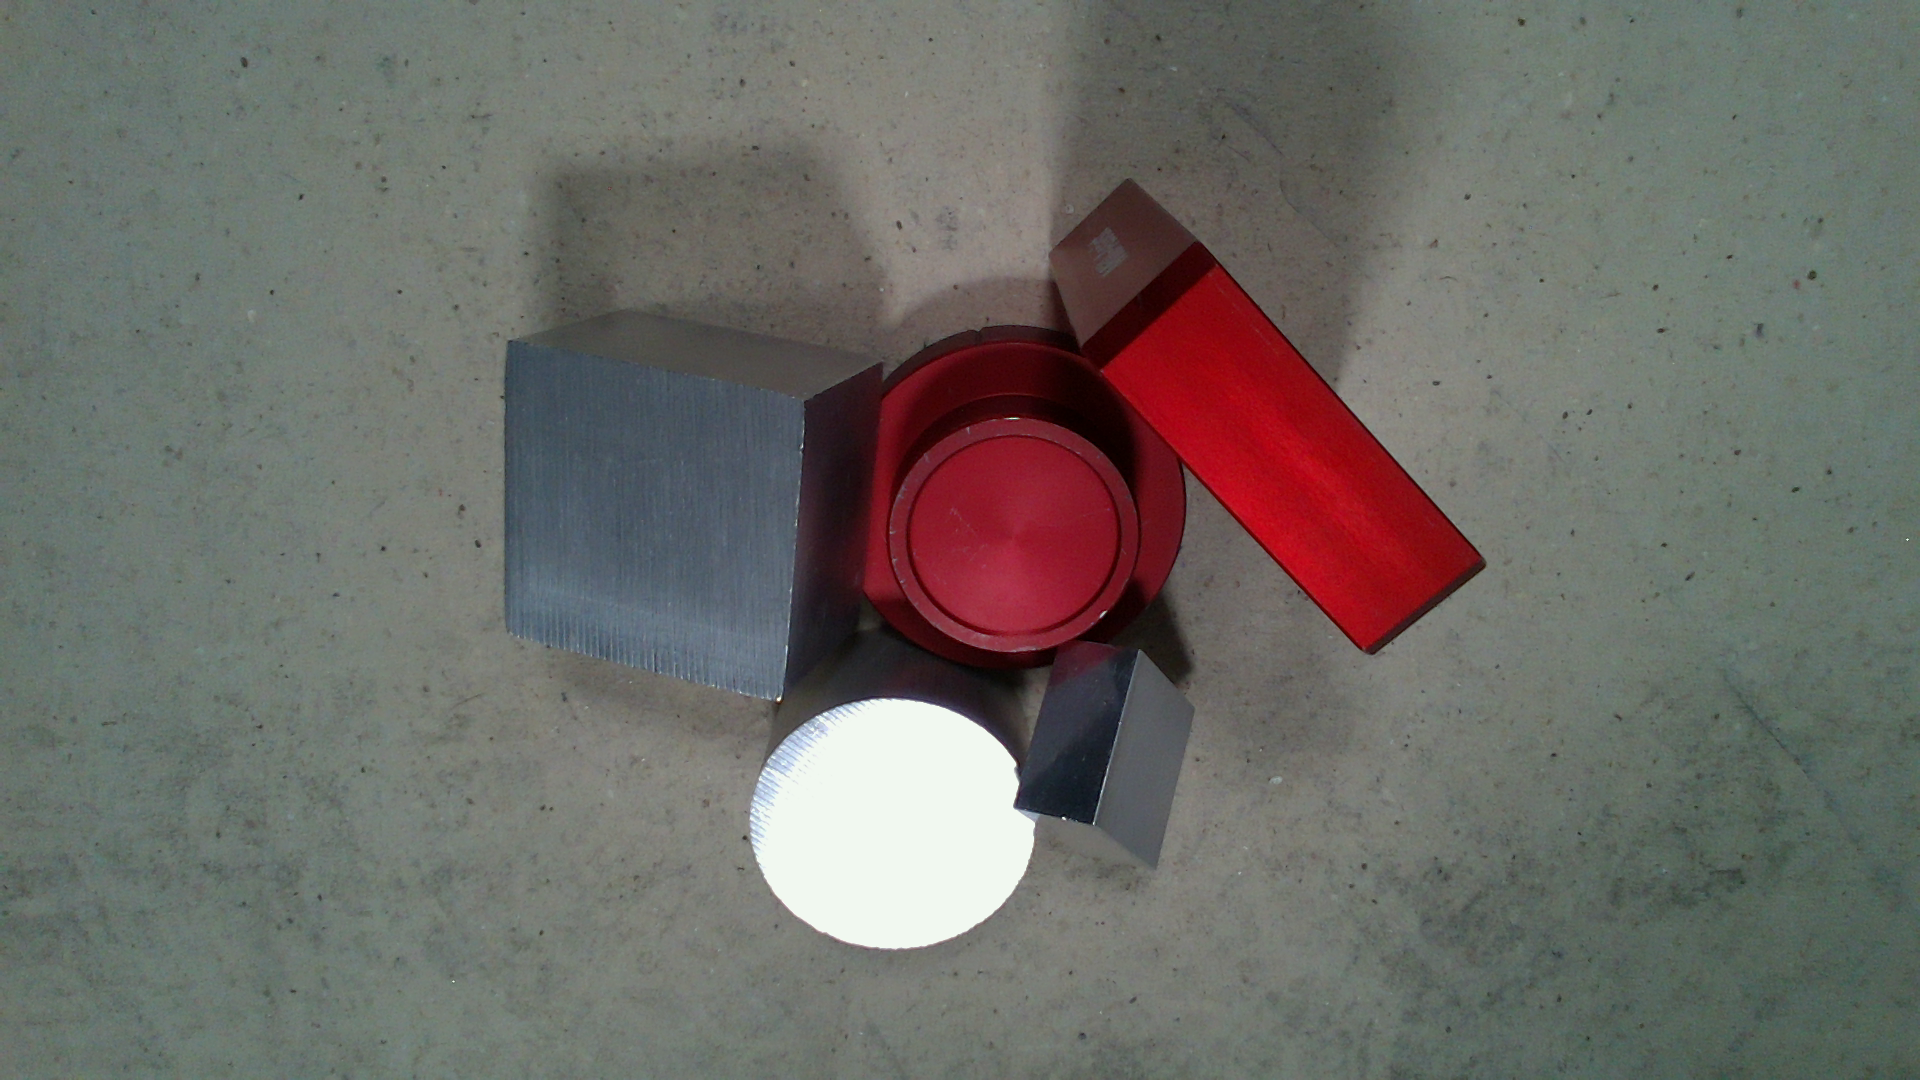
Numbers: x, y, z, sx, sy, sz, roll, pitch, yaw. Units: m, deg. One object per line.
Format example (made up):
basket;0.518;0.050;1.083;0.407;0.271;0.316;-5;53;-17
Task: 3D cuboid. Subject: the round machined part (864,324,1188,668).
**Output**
round machined part;0.015;-0.008;0.383;0.098;0.042;0.098;0;110;0

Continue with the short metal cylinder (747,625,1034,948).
short metal cylinder;-0.019;0.072;0.407;0.080;0.050;0.080;0;110;0

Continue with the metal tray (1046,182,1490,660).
metal tray;0.065;-0.035;0.324;0.030;0.130;0.090;-42;105;14

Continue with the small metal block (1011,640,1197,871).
small metal block;0.043;0.061;0.392;0.025;0.050;0.050;6;158;31

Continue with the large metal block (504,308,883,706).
large metal block;-0.070;-0.012;0.363;0.080;0.050;0.080;13;111;13
